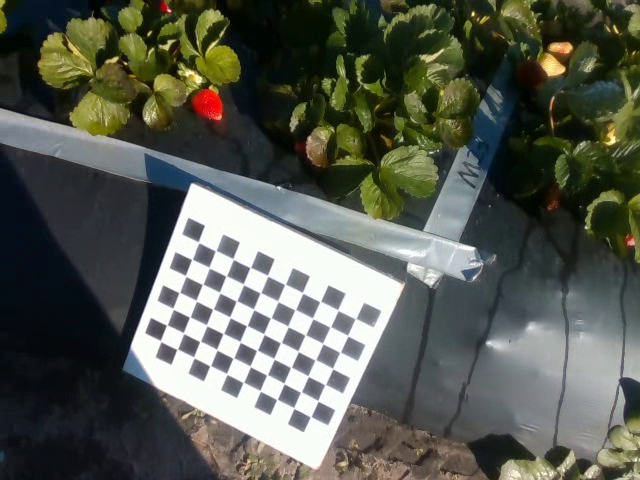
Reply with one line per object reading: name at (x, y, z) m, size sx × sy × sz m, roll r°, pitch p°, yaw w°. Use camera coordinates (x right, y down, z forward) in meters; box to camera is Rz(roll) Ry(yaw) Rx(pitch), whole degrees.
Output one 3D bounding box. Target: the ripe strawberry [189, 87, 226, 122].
ripe strawberry at (-0.149, -0.175, 1.021) m, size 0.045 × 0.059 × 0.042 m, roll -38°, pitch -16°, yaw 6°
